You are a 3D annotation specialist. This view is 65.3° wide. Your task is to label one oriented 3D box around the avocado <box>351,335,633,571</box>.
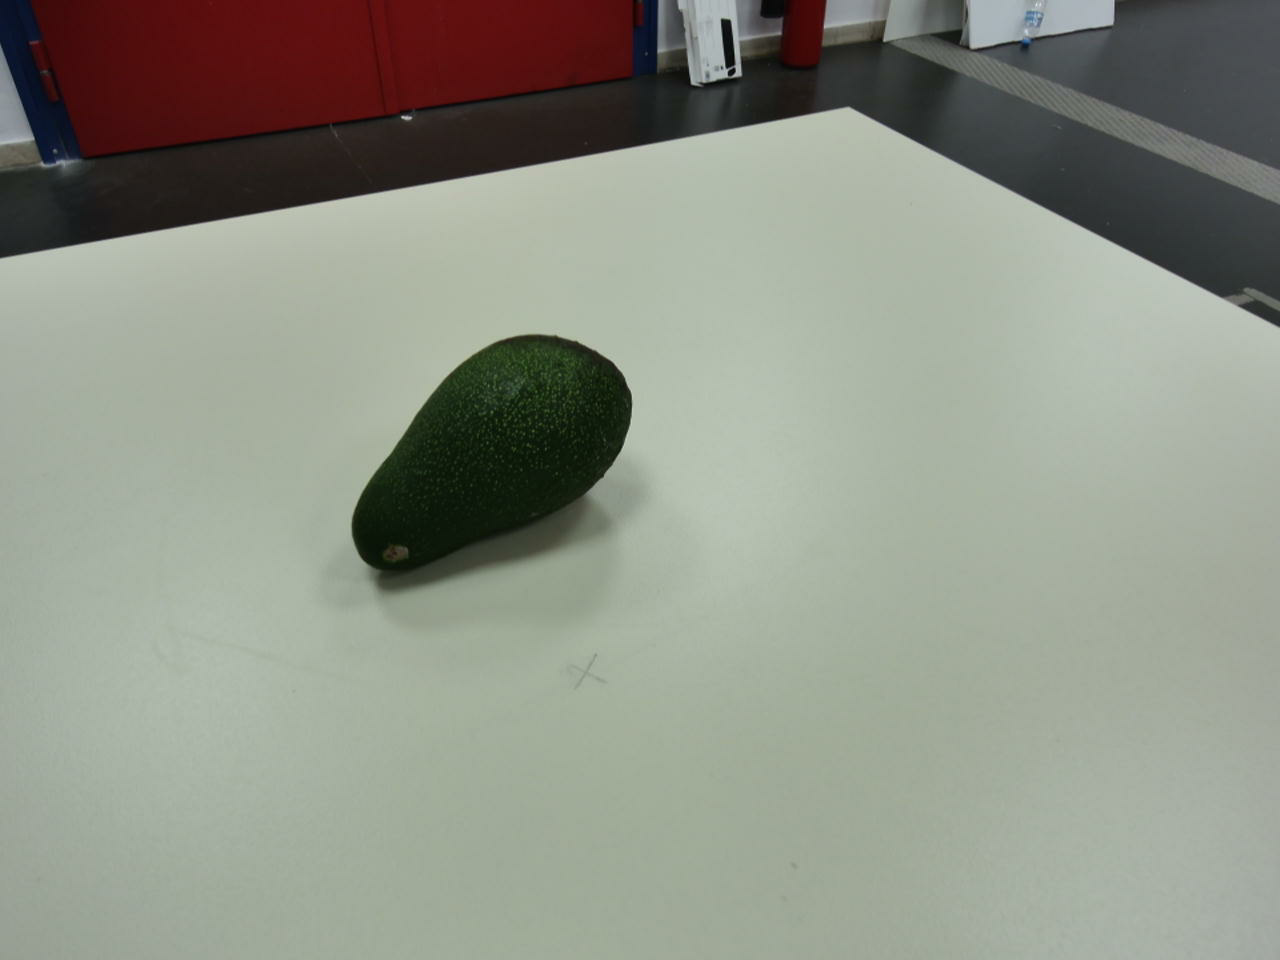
[{"bbox_3d":[-0.062,-0.018,0.413,0.123,0.076,0.074,-13,40,-17],"label":"avocado"}]
